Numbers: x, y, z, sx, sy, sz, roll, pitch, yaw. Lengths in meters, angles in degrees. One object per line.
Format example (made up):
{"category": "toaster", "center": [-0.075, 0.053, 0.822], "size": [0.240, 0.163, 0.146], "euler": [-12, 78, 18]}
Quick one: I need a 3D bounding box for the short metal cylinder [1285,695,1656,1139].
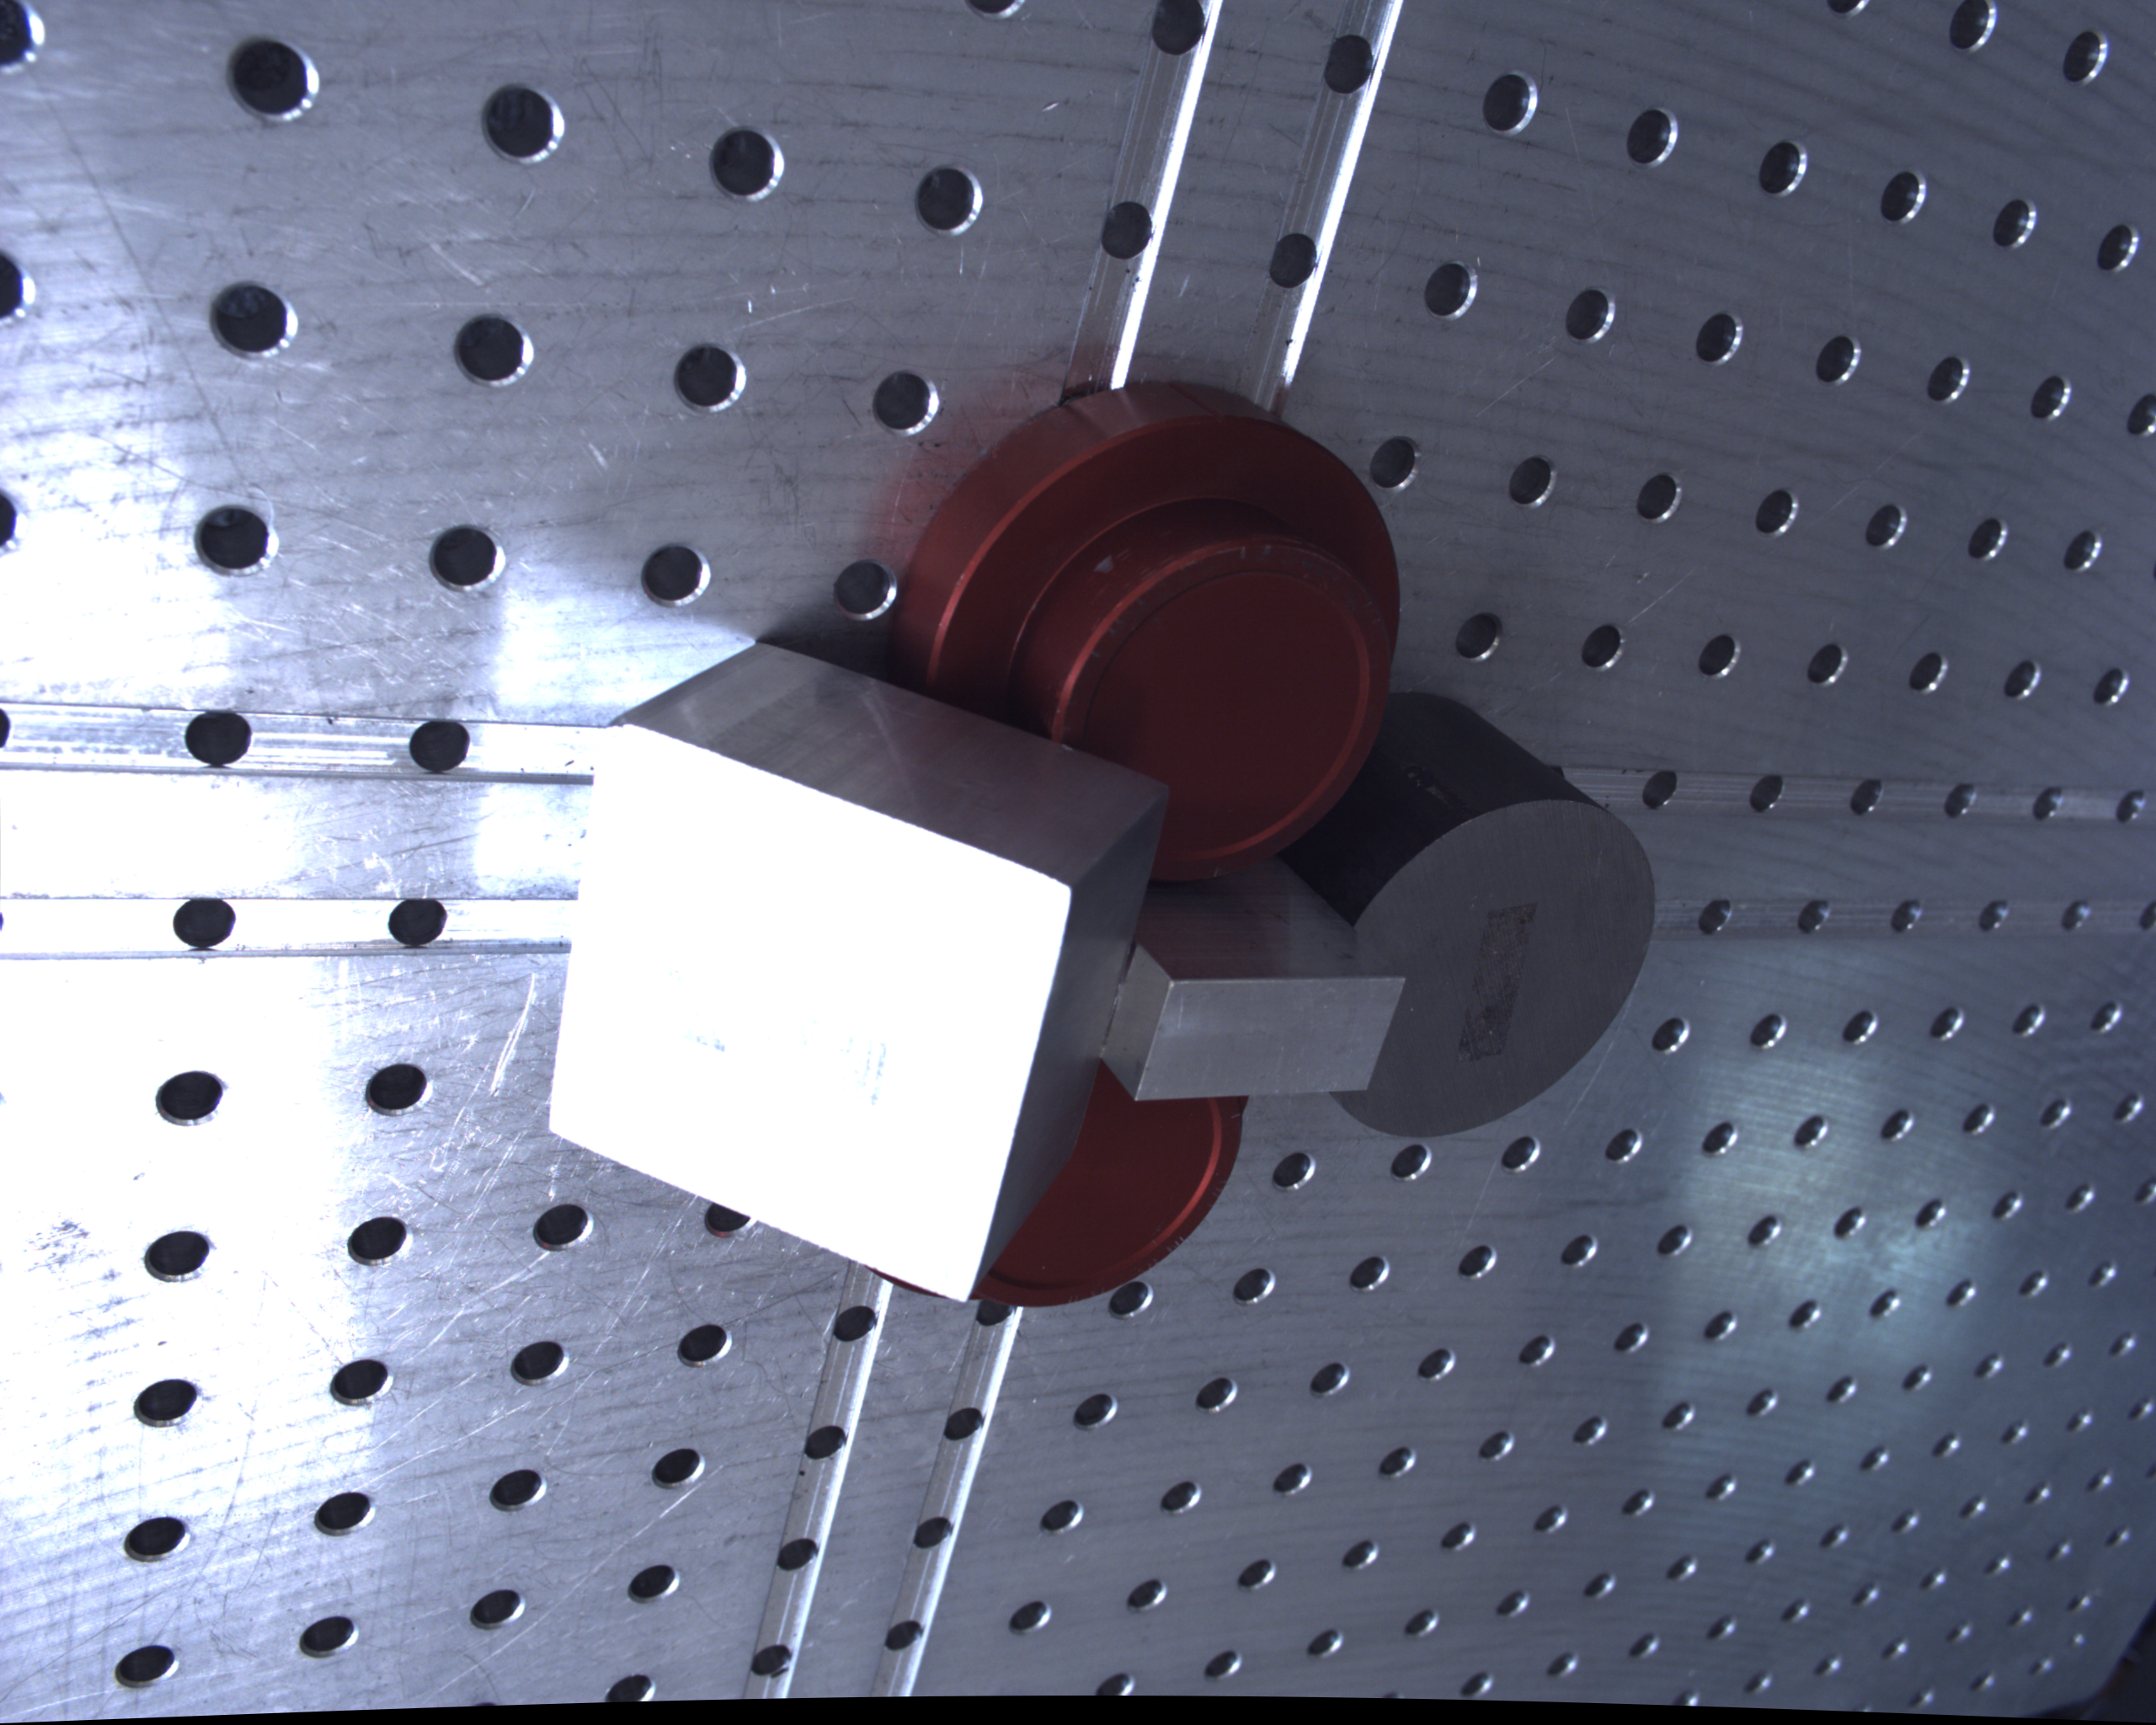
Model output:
{"category": "short metal cylinder", "center": [0.073, 0.011, 0.440], "size": [0.081, 0.050, 0.079], "euler": [-14, 124, -21]}

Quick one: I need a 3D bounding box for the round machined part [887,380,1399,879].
{"category": "round machined part", "center": [0.018, -0.036, 0.388], "size": [0.099, 0.042, 0.097], "euler": [-14, 124, -21]}

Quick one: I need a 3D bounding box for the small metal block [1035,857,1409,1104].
{"category": "small metal block", "center": [0.025, 0.020, 0.392], "size": [0.050, 0.050, 0.025], "euler": [1, 118, -29]}

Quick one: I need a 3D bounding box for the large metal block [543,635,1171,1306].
{"category": "large metal block", "center": [-0.038, 0.016, 0.357], "size": [0.050, 0.080, 0.079], "euler": [-46, 153, -61]}

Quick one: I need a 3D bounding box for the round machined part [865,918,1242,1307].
{"category": "round machined part", "center": [-0.006, 0.052, 0.429], "size": [0.099, 0.042, 0.097], "euler": [-14, 124, -21]}
